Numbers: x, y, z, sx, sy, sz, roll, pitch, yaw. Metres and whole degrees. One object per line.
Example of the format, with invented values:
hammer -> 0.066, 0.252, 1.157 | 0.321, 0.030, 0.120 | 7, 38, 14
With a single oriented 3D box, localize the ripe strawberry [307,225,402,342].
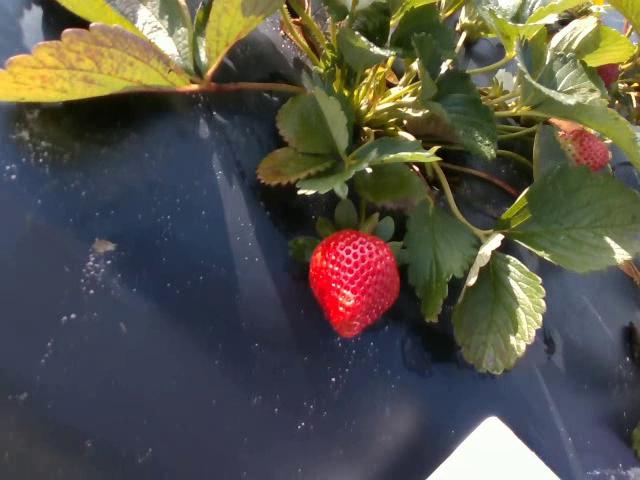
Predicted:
ripe strawberry -> 0.011, 0.017, 0.193 | 0.041, 0.041, 0.047 | 14, 35, 4
